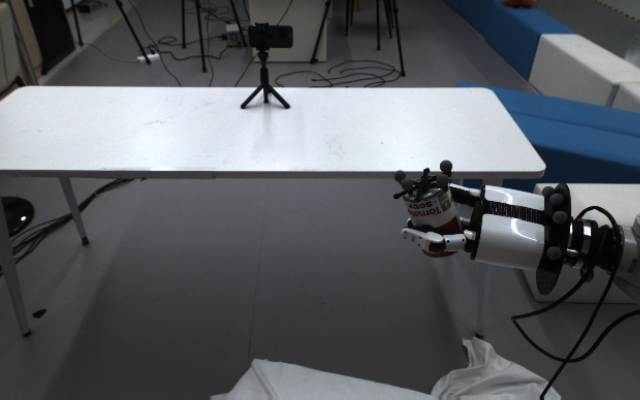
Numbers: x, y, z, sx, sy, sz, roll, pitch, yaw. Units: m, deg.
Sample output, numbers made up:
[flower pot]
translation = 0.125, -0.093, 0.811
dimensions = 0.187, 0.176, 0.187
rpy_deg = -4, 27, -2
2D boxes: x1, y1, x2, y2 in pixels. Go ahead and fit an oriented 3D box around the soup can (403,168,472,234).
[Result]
[soup can]
translation = 0.169, 0.022, 0.707
dimensions = 0.067, 0.101, 0.067
rpy_deg = -21, 24, 10
